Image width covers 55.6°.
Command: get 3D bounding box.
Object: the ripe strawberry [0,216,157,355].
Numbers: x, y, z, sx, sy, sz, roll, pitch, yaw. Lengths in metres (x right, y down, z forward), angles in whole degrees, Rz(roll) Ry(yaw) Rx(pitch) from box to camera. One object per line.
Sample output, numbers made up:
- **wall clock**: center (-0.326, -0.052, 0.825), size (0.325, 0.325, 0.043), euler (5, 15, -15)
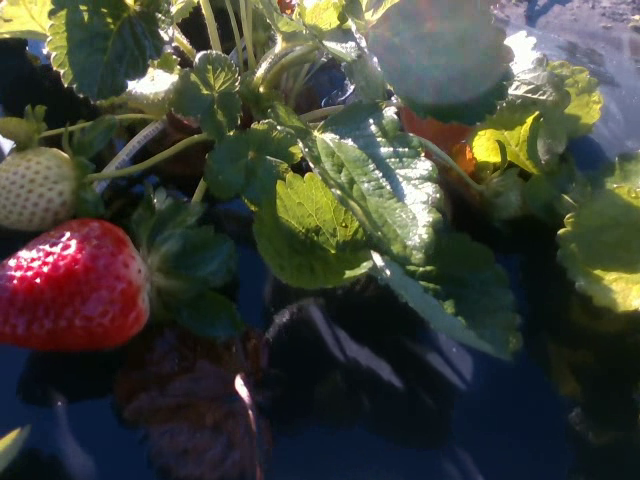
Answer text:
- **ripe strawberry**: center (-0.089, 0.016, 0.214), size (0.080, 0.063, 0.040), euler (-13, -6, -38)
